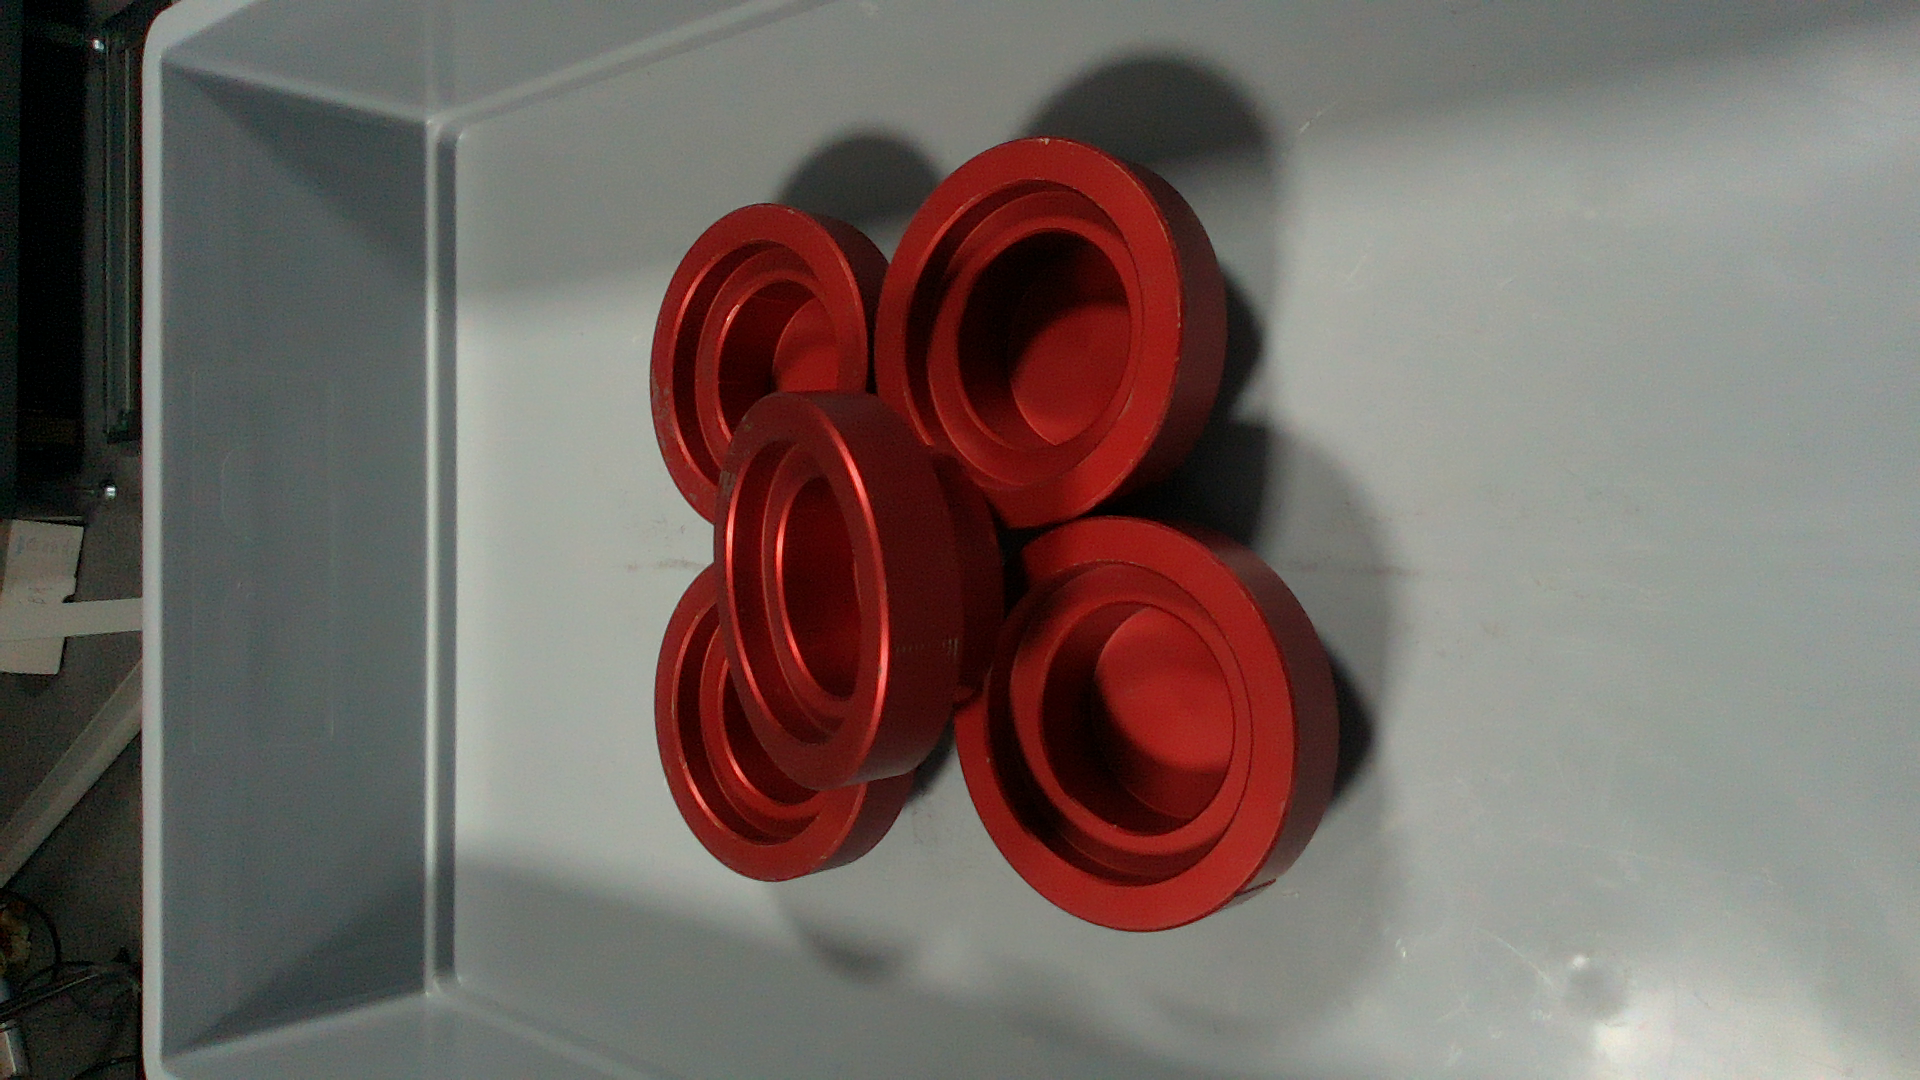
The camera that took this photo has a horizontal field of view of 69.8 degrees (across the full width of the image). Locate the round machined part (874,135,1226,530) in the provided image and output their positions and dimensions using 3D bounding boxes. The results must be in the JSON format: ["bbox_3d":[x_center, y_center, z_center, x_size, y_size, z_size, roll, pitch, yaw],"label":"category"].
[{"bbox_3d":[0.027,-0.052,0.359,0.098,0.042,0.098,0,90,40],"label":"round machined part"}]

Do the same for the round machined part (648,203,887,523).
[{"bbox_3d":[-0.049,-0.050,0.423,0.098,0.042,0.098,0,90,40],"label":"round machined part"}]

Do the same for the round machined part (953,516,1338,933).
[{"bbox_3d":[0.048,0.043,0.341,0.098,0.042,0.098,0,90,40],"label":"round machined part"}]

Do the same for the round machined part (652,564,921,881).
[{"bbox_3d":[-0.048,0.051,0.422,0.098,0.042,0.098,0,90,40],"label":"round machined part"}]

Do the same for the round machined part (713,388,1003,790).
[{"bbox_3d":[-0.025,0.010,0.347,0.098,0.042,0.098,14,107,57],"label":"round machined part"}]
